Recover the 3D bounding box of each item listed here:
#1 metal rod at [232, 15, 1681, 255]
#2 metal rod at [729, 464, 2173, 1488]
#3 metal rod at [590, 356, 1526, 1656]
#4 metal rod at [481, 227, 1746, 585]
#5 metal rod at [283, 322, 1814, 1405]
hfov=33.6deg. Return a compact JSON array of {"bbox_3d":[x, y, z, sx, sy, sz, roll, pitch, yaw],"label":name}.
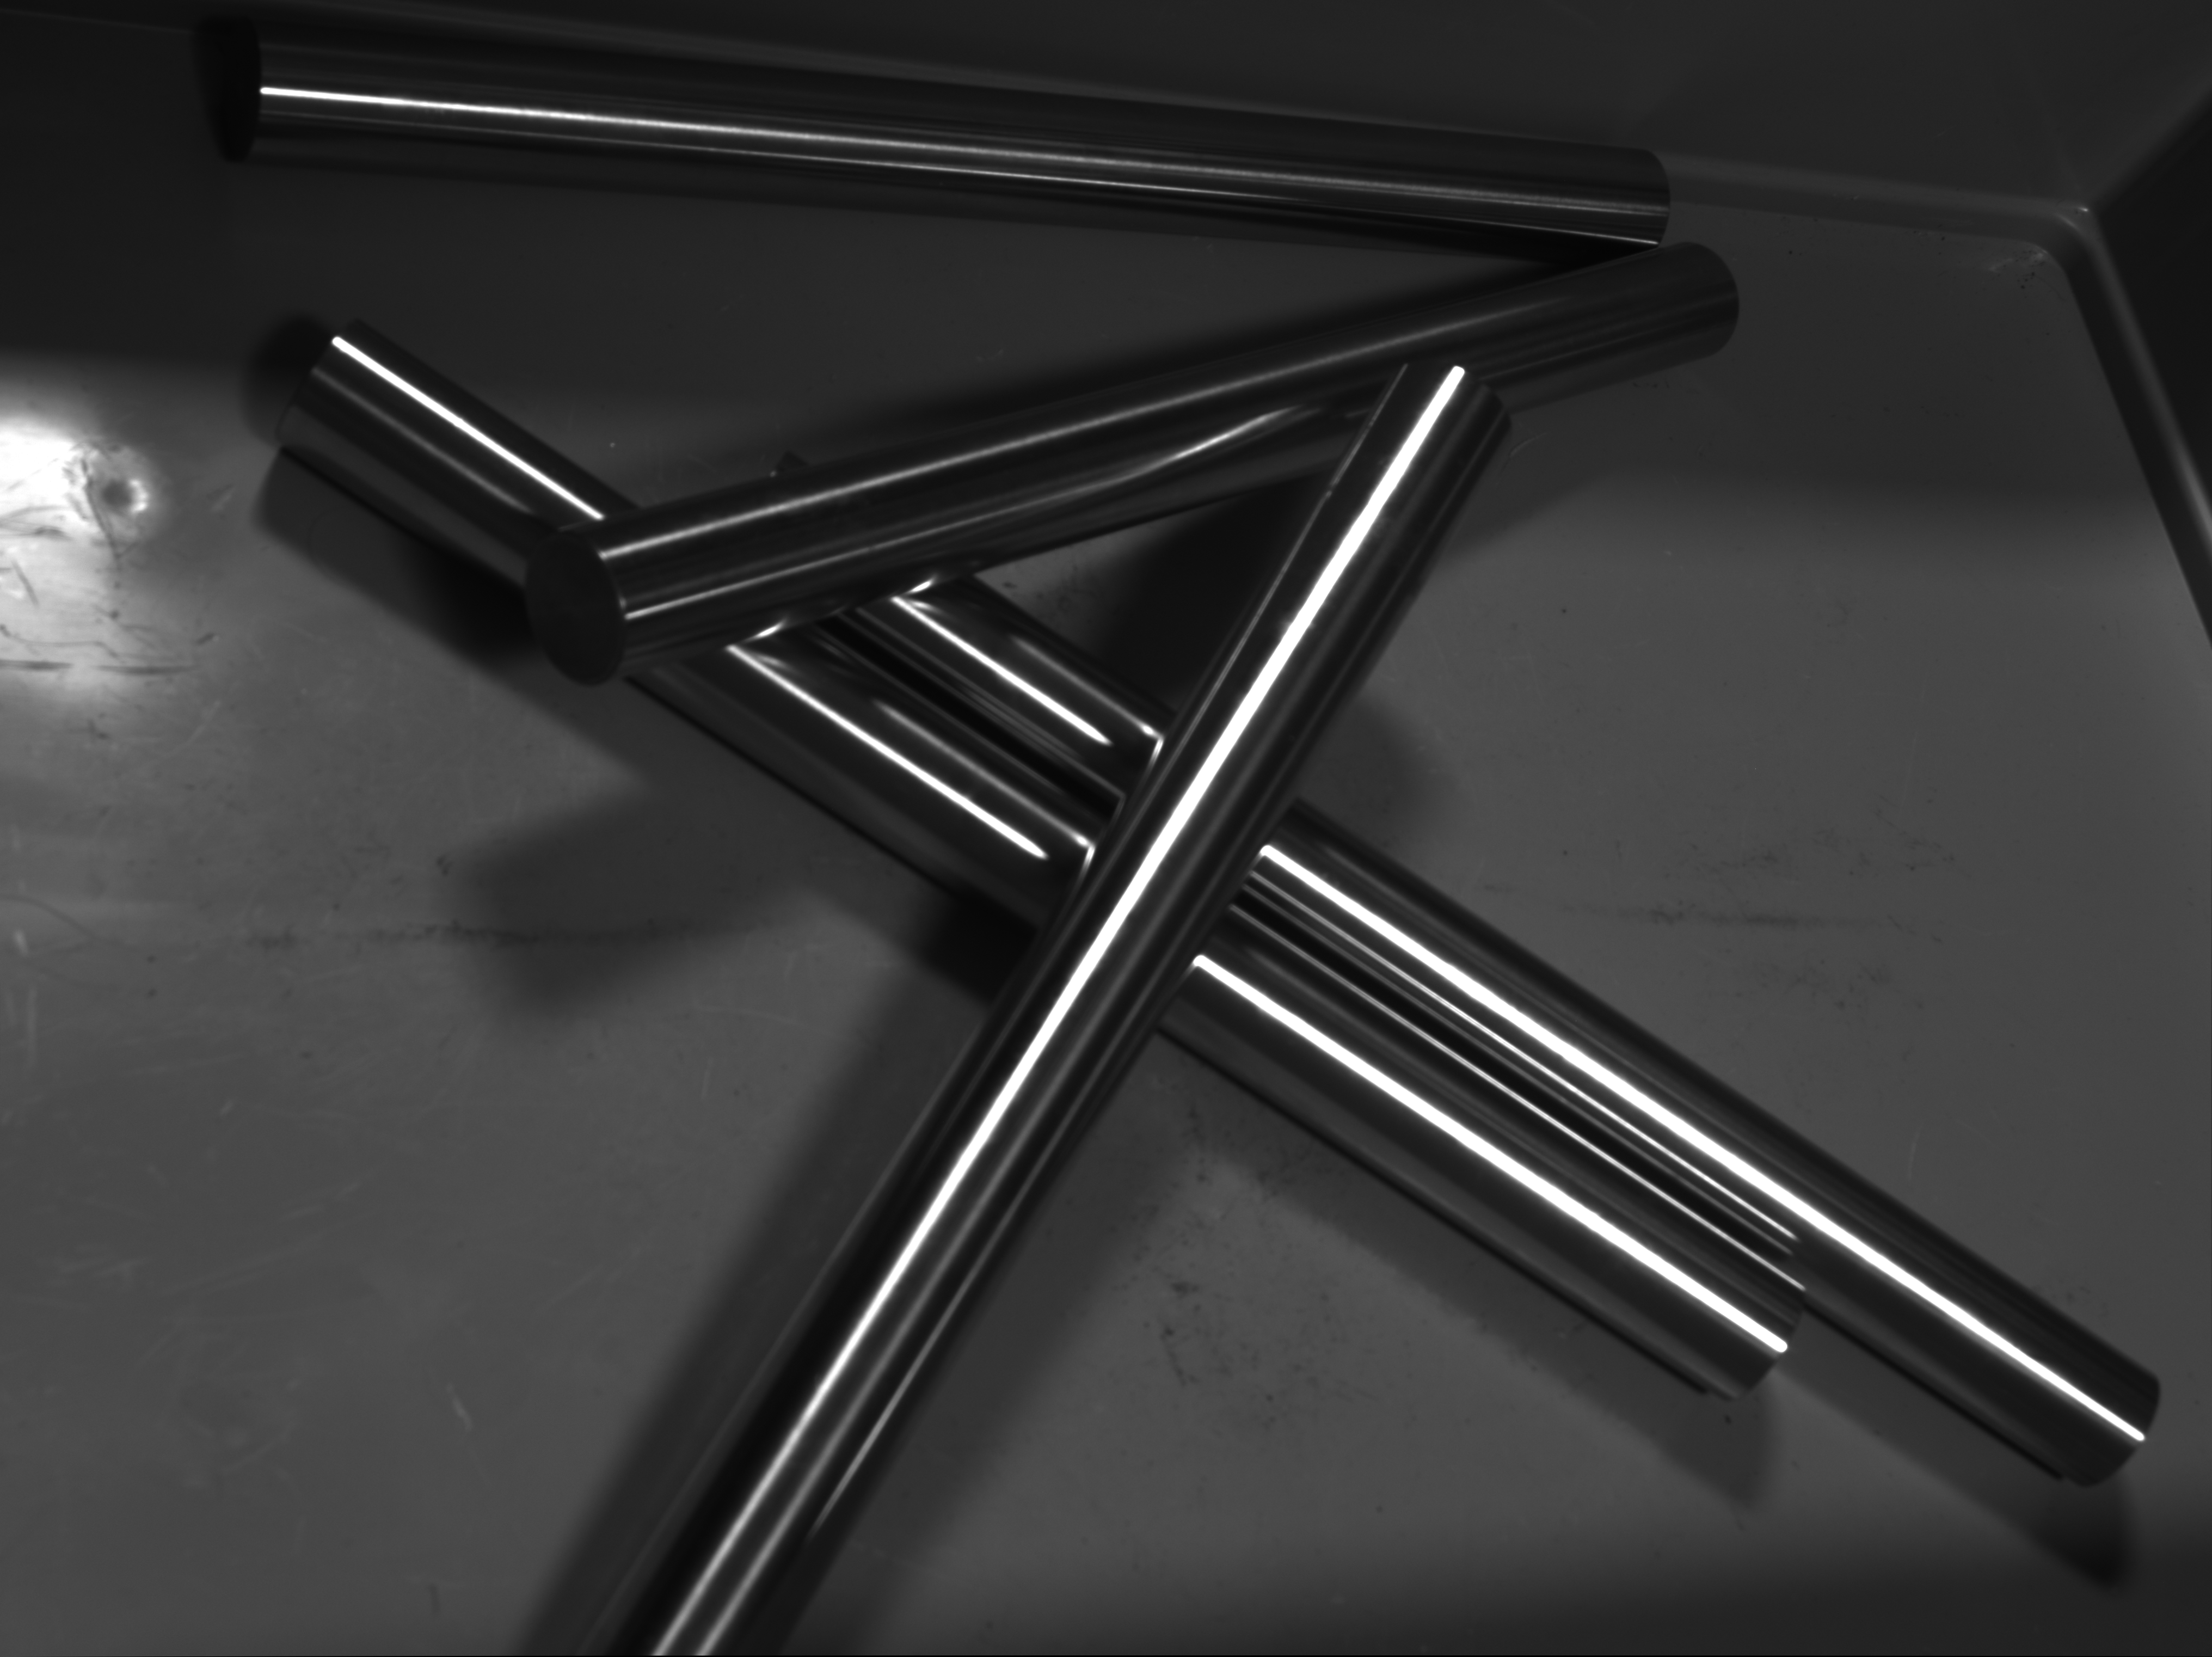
[{"bbox_3d":[-0.017,-0.131,0.710,0.301,0.025,0.025,-1,62,-29],"label":"metal rod"},{"bbox_3d":[0.064,0.028,0.657,0.300,0.025,0.025,34,51,-6],"label":"metal rod"},{"bbox_3d":[-0.004,0.032,0.591,0.025,0.025,0.300,35,59,-5],"label":"metal rod"},{"bbox_3d":[0.017,-0.083,0.679,0.301,0.025,0.025,-16,70,-41],"label":"metal rod"},{"bbox_3d":[-0.007,0.008,0.631,0.300,0.025,0.025,34,51,-6],"label":"metal rod"}]
